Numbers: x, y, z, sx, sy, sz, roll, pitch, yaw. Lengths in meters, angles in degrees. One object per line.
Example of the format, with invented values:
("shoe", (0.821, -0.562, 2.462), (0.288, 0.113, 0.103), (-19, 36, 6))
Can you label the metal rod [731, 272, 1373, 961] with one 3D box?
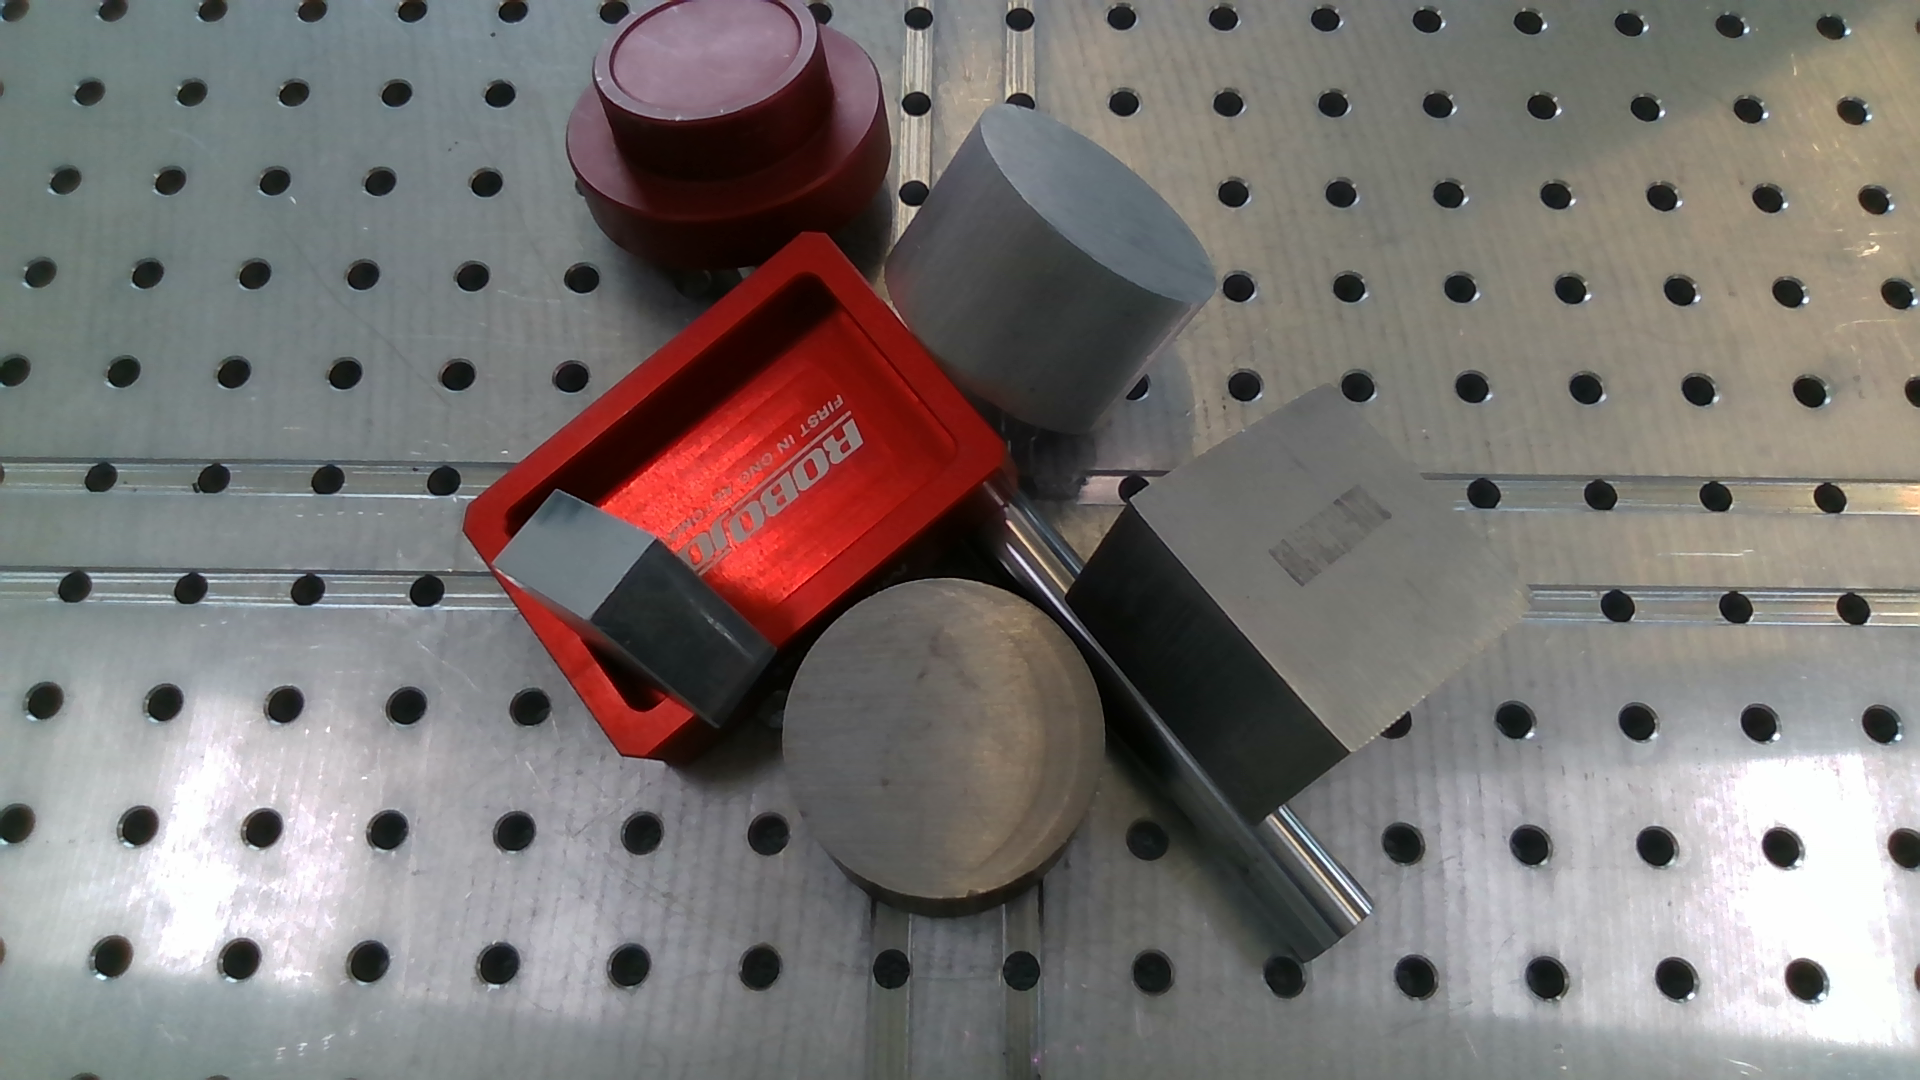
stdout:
("metal rod", (0.007, -0.008, 0.403), (0.025, 0.025, 0.300), (-36, 74, -12))

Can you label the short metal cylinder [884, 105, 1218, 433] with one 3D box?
("short metal cylinder", (0.026, -0.077, 0.390), (0.080, 0.050, 0.080), (26, 35, -20))

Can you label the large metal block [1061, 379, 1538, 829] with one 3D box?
("large metal block", (0.089, 0.015, 0.367), (0.080, 0.050, 0.080), (-29, 72, -31))

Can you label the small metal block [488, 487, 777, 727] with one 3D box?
("small metal block", (-0.083, 0.017, 0.348), (0.050, 0.050, 0.025), (21, 70, 45))

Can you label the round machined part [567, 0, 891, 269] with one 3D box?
("round machined part", (-0.073, -0.133, 0.422), (0.098, 0.042, 0.098), (-3, 55, 5))

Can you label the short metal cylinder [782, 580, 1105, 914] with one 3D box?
("short metal cylinder", (-0.004, 0.056, 0.364), (0.080, 0.050, 0.080), (0, 70, 0))

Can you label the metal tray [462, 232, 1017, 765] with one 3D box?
("metal tray", (-0.061, -0.011, 0.384), (0.130, 0.030, 0.090), (-39, 74, 0))
